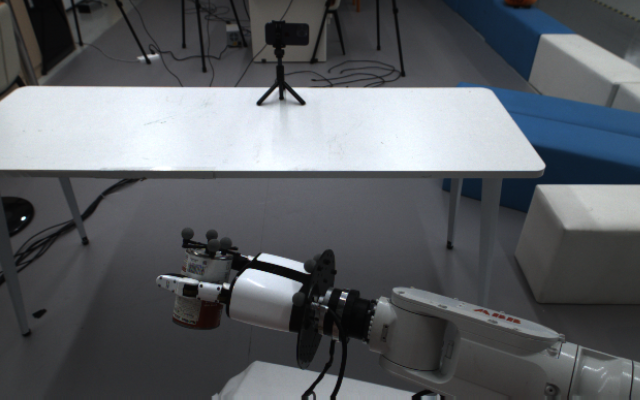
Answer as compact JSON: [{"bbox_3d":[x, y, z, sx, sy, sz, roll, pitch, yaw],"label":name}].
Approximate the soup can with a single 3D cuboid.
[{"bbox_3d":[-0.161,0.122,0.672,0.067,0.101,0.067,12,2,0],"label":"soup can"}]
